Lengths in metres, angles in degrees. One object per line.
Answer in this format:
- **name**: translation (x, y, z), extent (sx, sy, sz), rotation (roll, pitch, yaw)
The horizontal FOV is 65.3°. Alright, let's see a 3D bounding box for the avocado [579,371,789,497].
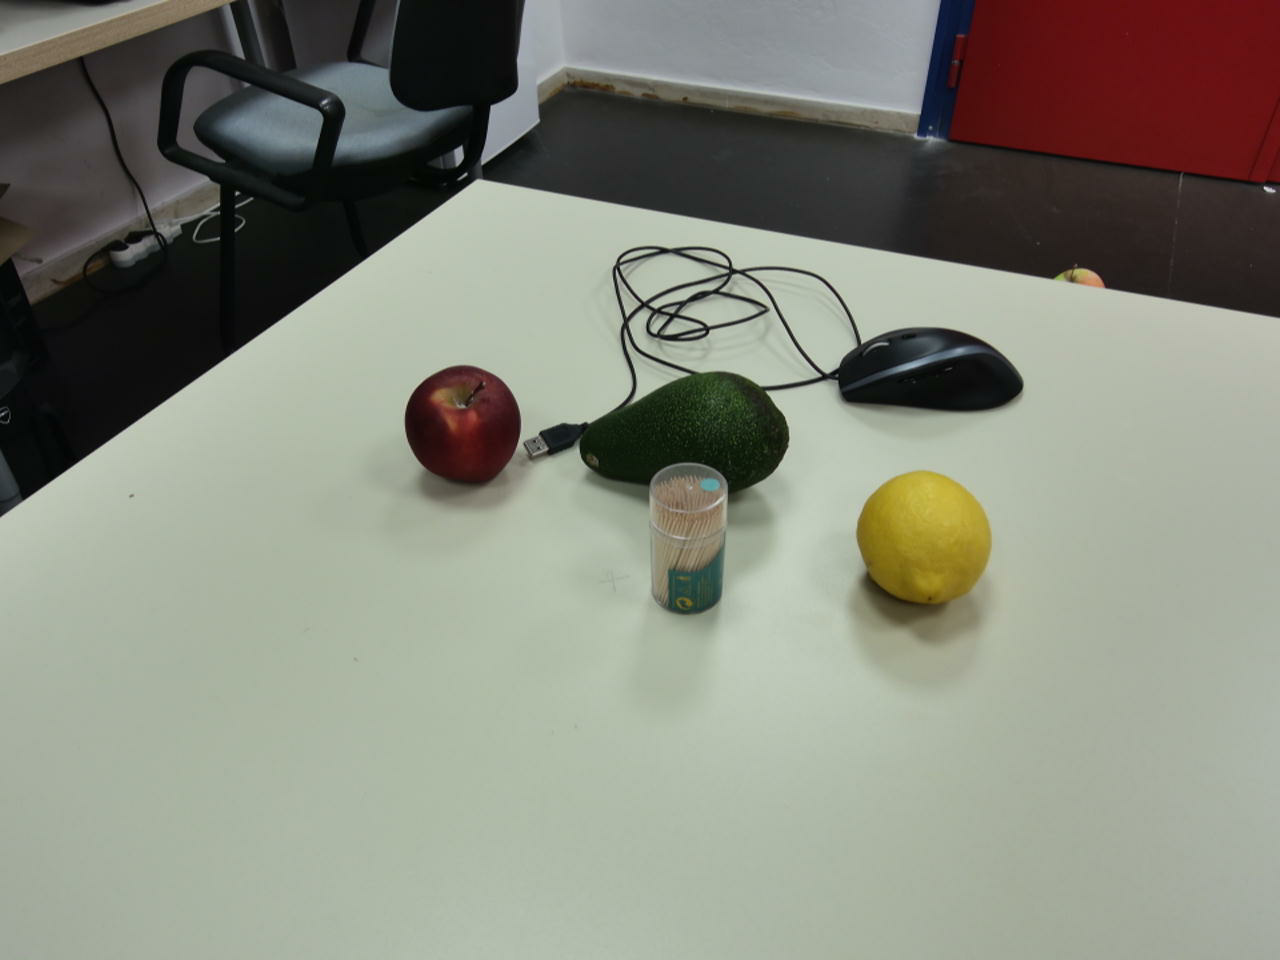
- **avocado**: translation (0.028, -0.031, 0.592), extent (0.123, 0.076, 0.074), rotation (20, 43, 24)
